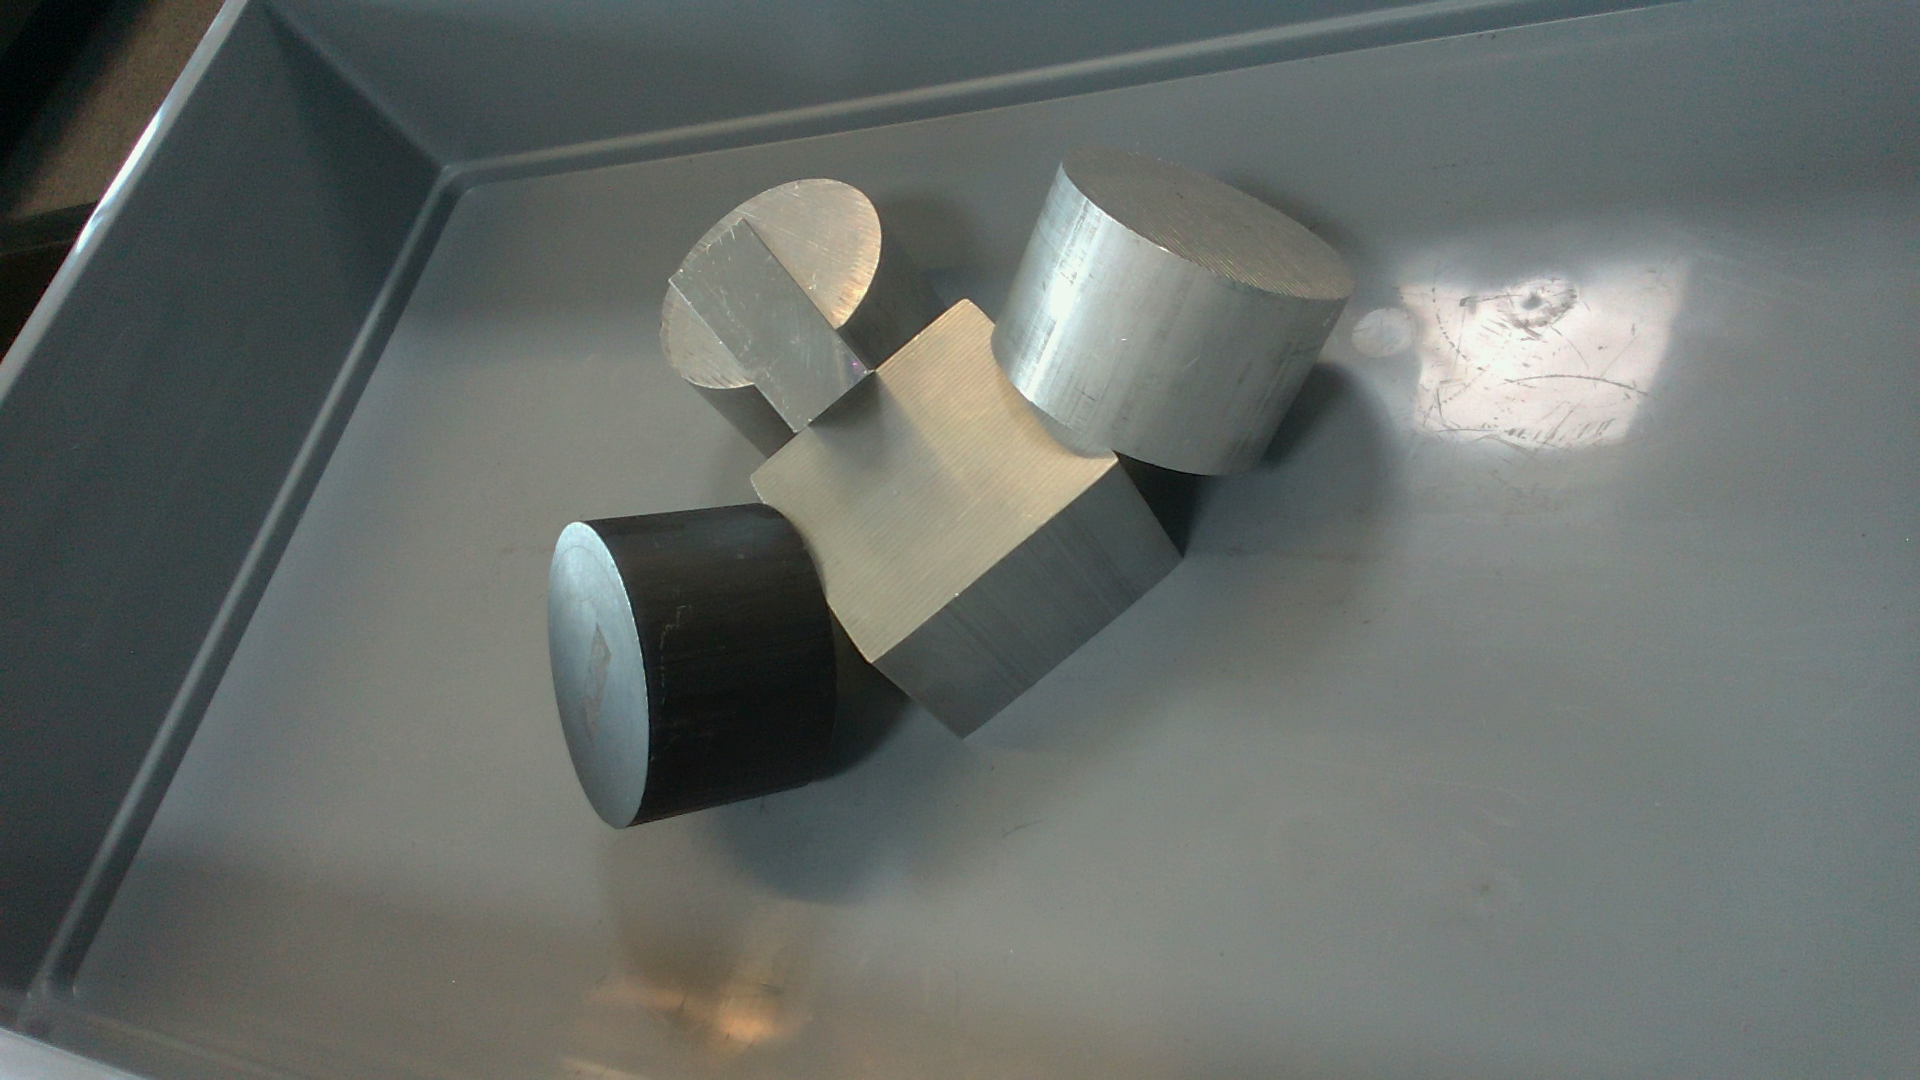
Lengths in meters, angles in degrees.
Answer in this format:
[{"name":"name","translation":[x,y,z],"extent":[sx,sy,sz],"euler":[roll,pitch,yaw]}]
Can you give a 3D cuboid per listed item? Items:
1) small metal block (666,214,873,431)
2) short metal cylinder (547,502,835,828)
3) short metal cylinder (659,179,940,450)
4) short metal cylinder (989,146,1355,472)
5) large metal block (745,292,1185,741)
[{"name":"small metal block","translation":[-0.049,-0.058,0.375],"extent":[0.025,0.050,0.050],"euler":[-39,7,4]},{"name":"short metal cylinder","translation":[-0.074,0.032,0.369],"extent":[0.080,0.050,0.080],"euler":[19,112,56]},{"name":"short metal cylinder","translation":[-0.049,-0.069,0.446],"extent":[0.080,0.050,0.080],"euler":[-13,56,21]},{"name":"short metal cylinder","translation":[0.054,-0.061,0.356],"extent":[0.080,0.080,0.050],"euler":[51,130,39]},{"name":"large metal block","translation":[0.000,-0.007,0.378],"extent":[0.080,0.050,0.080],"euler":[-39,51,2]}]
